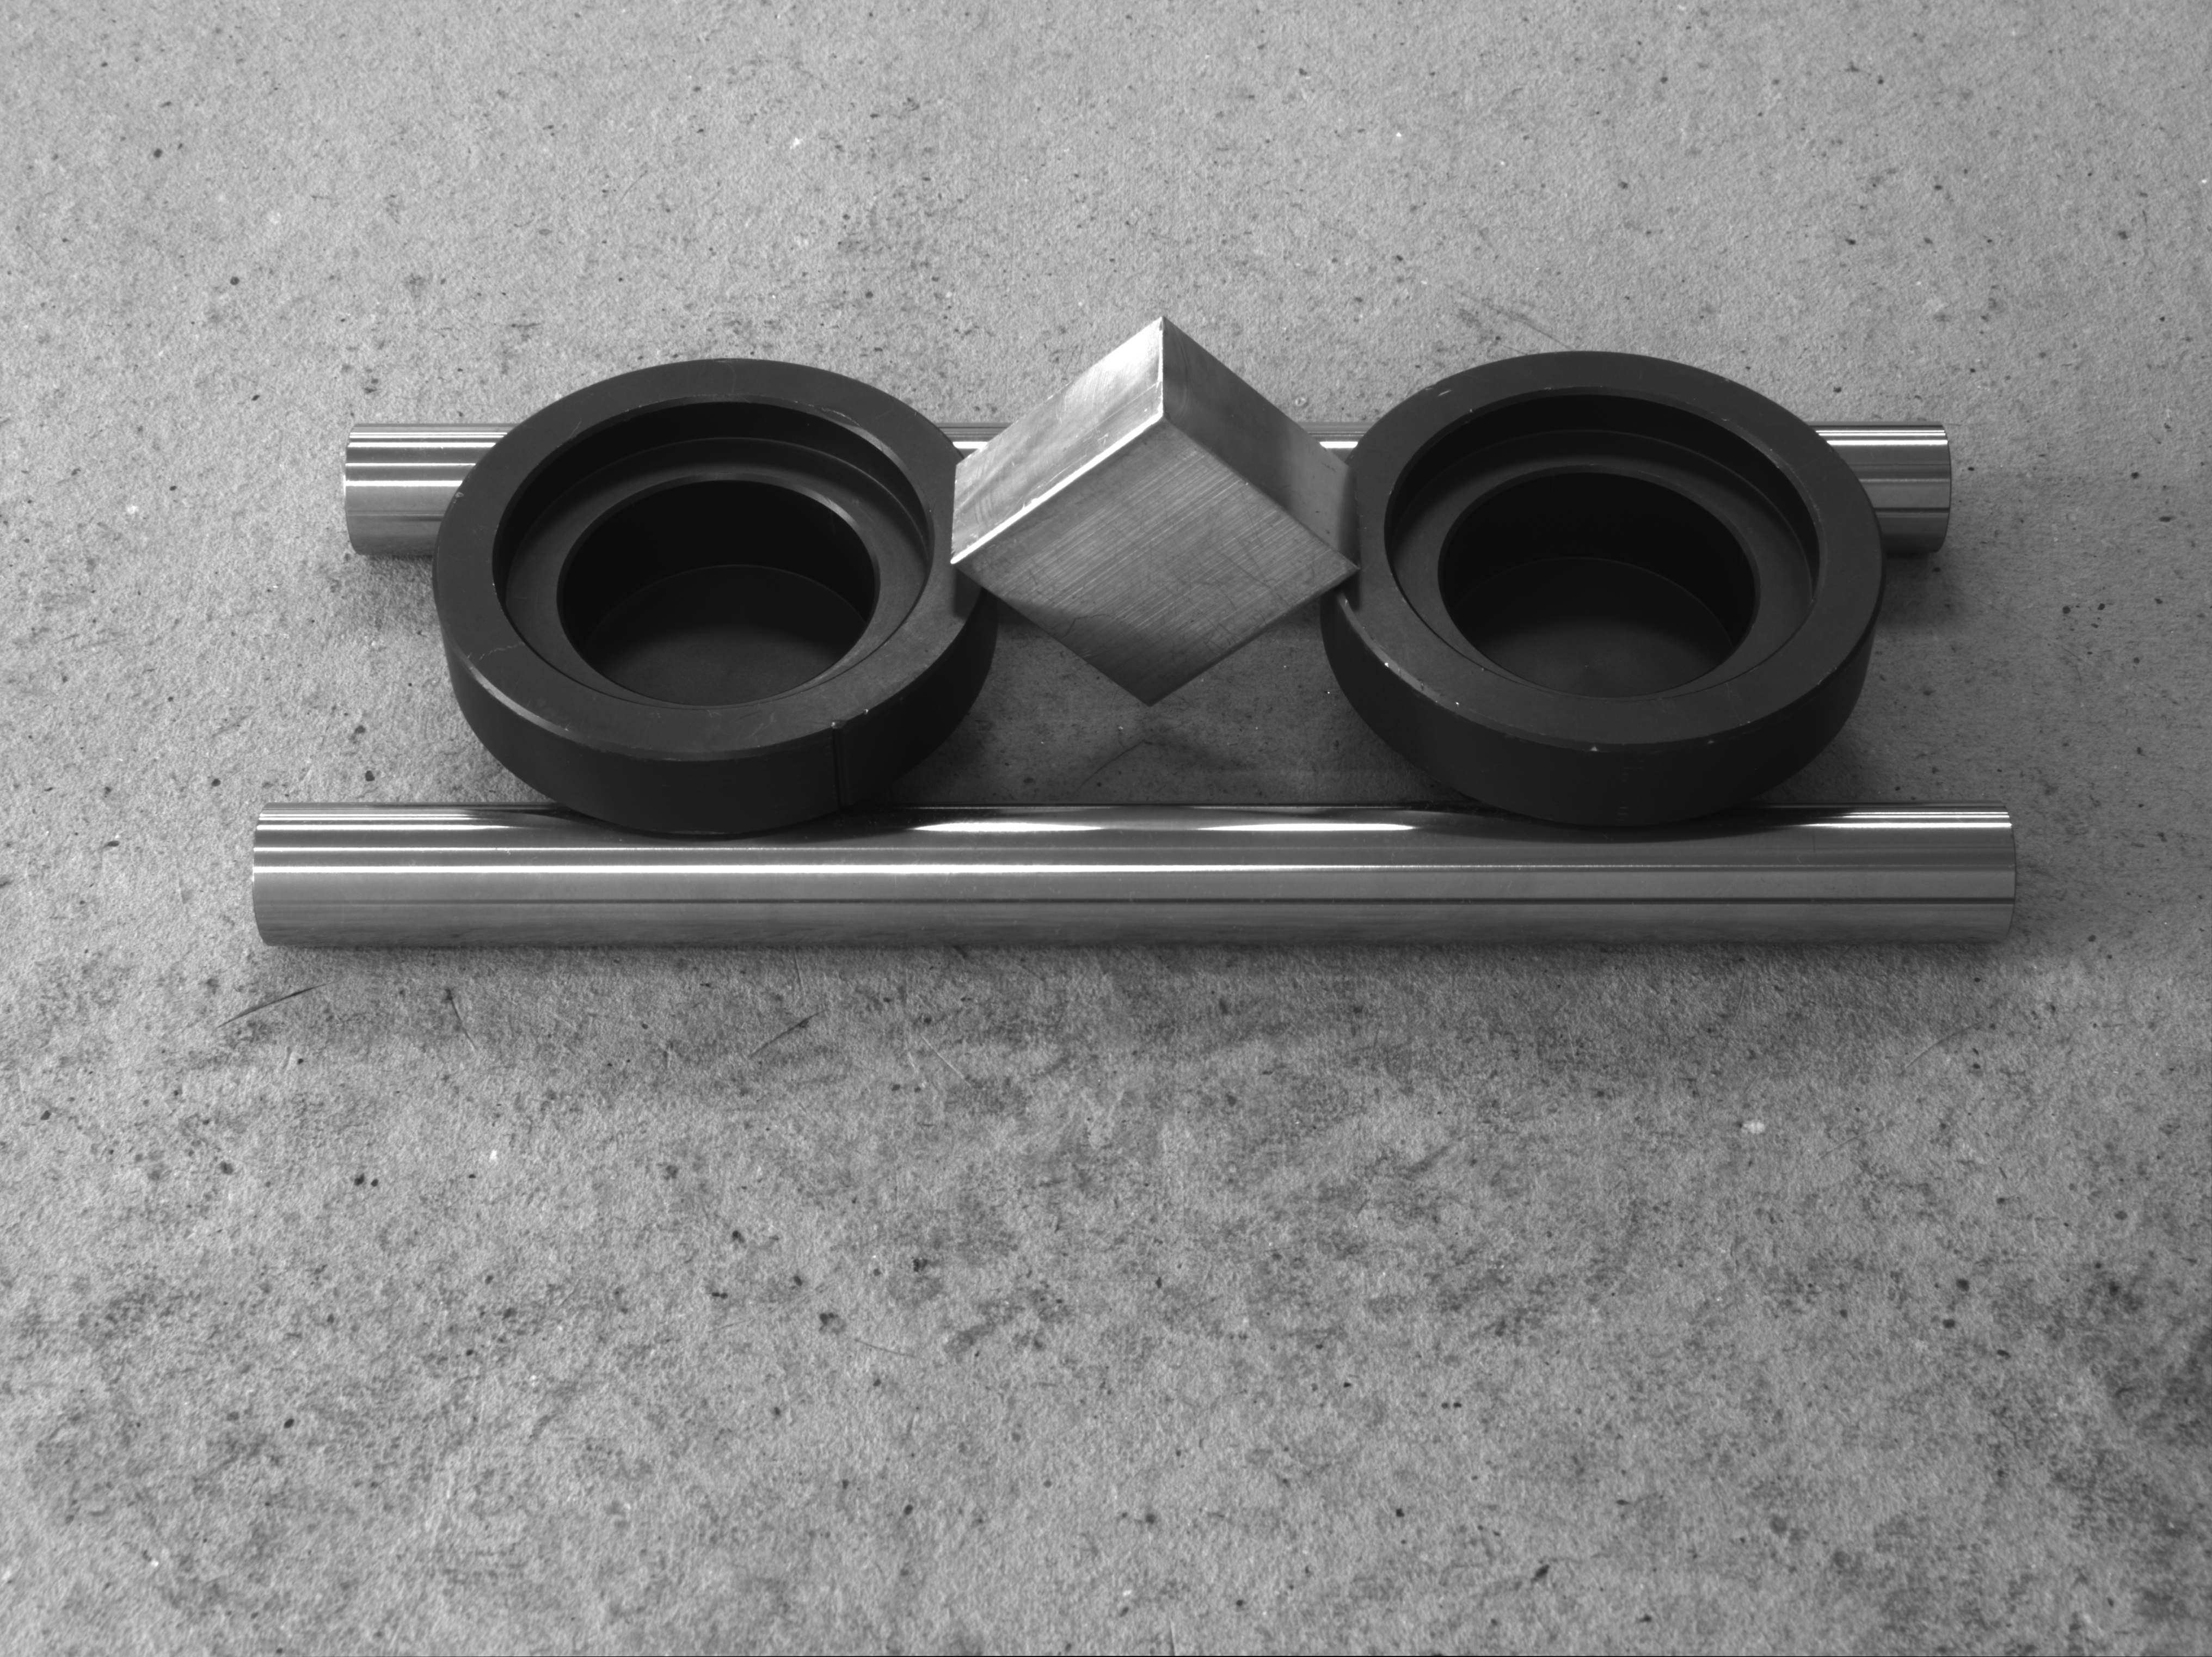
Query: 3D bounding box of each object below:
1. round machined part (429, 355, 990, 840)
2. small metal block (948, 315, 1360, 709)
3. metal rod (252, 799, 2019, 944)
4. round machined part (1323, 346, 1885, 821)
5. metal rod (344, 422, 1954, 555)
[{"bbox_3d":[-0.069,-0.036,0.657,0.098,0.042,0.098,0,50,0],"label":"round machined part"},{"bbox_3d":[0.008,-0.054,0.638,0.050,0.050,0.025,-32,40,31],"label":"small metal block"},{"bbox_3d":[0.005,0.008,0.636,0.300,0.025,0.025,0,50,0],"label":"metal rod"},{"bbox_3d":[0.087,-0.038,0.657,0.098,0.042,0.098,0,50,0],"label":"round machined part"},{"bbox_3d":[0.008,-0.064,0.697,0.300,0.025,0.025,0,50,0],"label":"metal rod"}]
